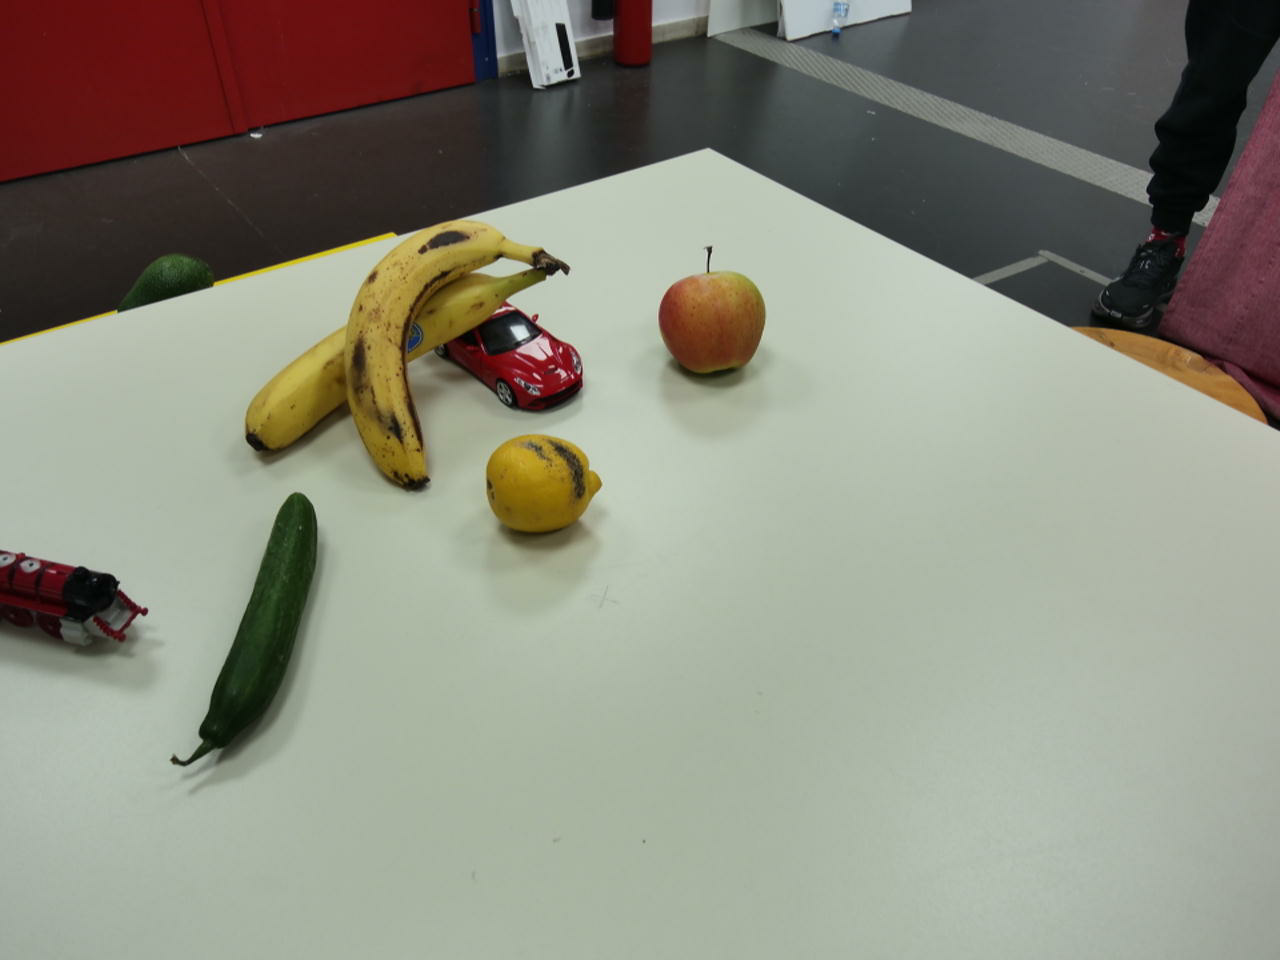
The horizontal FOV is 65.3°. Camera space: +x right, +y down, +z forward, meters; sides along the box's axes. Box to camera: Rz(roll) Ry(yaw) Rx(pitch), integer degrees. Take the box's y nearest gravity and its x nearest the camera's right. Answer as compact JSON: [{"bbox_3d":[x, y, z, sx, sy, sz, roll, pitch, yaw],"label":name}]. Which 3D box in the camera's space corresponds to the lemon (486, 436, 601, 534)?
[{"bbox_3d":[-0.058,0.002,0.570,0.061,0.056,0.058,-31,48,-34],"label":"lemon"}]
